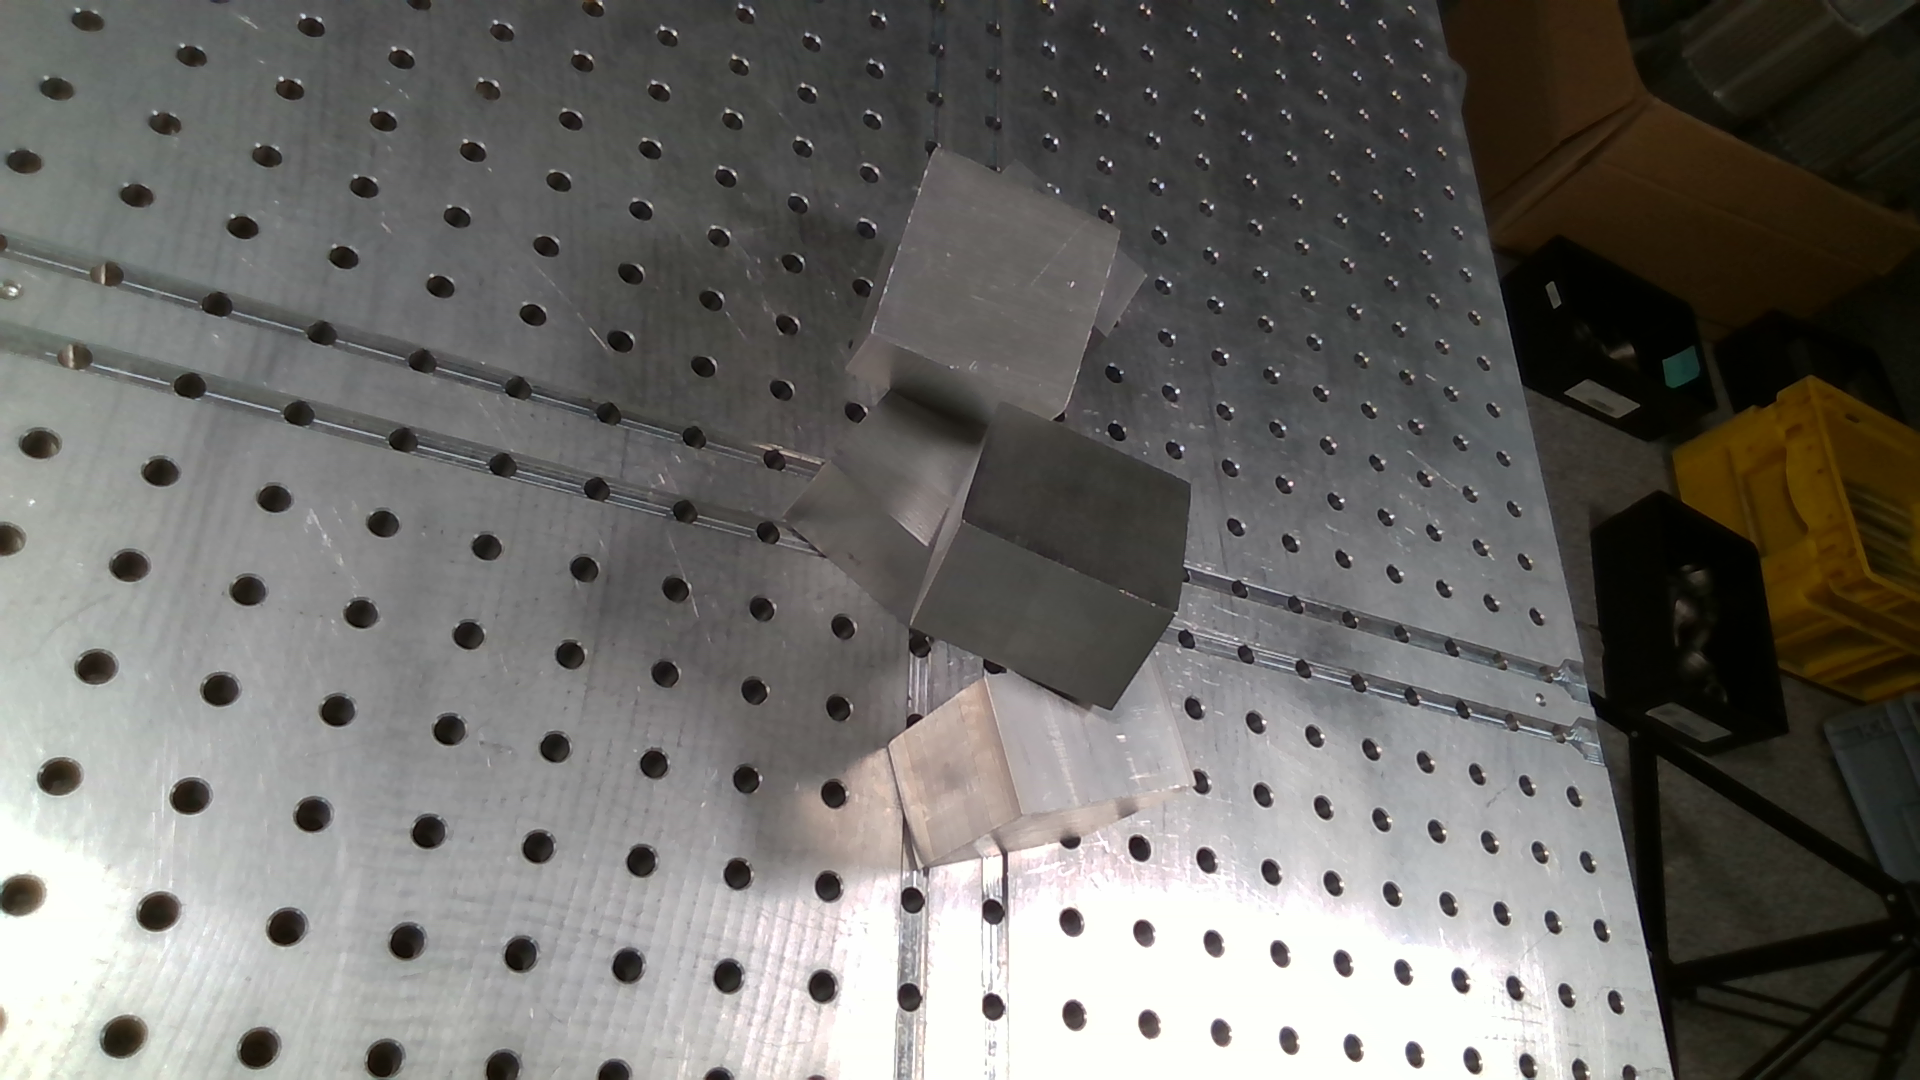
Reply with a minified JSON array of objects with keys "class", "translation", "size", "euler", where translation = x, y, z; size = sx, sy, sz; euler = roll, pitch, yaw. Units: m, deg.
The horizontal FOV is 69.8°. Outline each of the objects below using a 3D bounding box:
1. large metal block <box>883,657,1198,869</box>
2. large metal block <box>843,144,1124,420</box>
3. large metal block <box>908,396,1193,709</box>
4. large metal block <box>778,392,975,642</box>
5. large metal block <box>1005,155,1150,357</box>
[{"class":"large metal block","translation":[0.029,0.085,0.525],"size":[0.080,0.080,0.050],"euler":[-2,66,-32]},{"class":"large metal block","translation":[0.009,-0.095,0.545],"size":[0.080,0.050,0.080],"euler":[21,77,-13]},{"class":"large metal block","translation":[0.035,0.003,0.503],"size":[0.080,0.050,0.080],"euler":[23,39,-4]},{"class":"large metal block","translation":[-0.014,-0.019,0.574],"size":[0.080,0.050,0.080],"euler":[41,51,-6]},{"class":"large metal block","translation":[0.025,-0.111,0.628],"size":[0.080,0.080,0.050],"euler":[39,51,-7]}]
